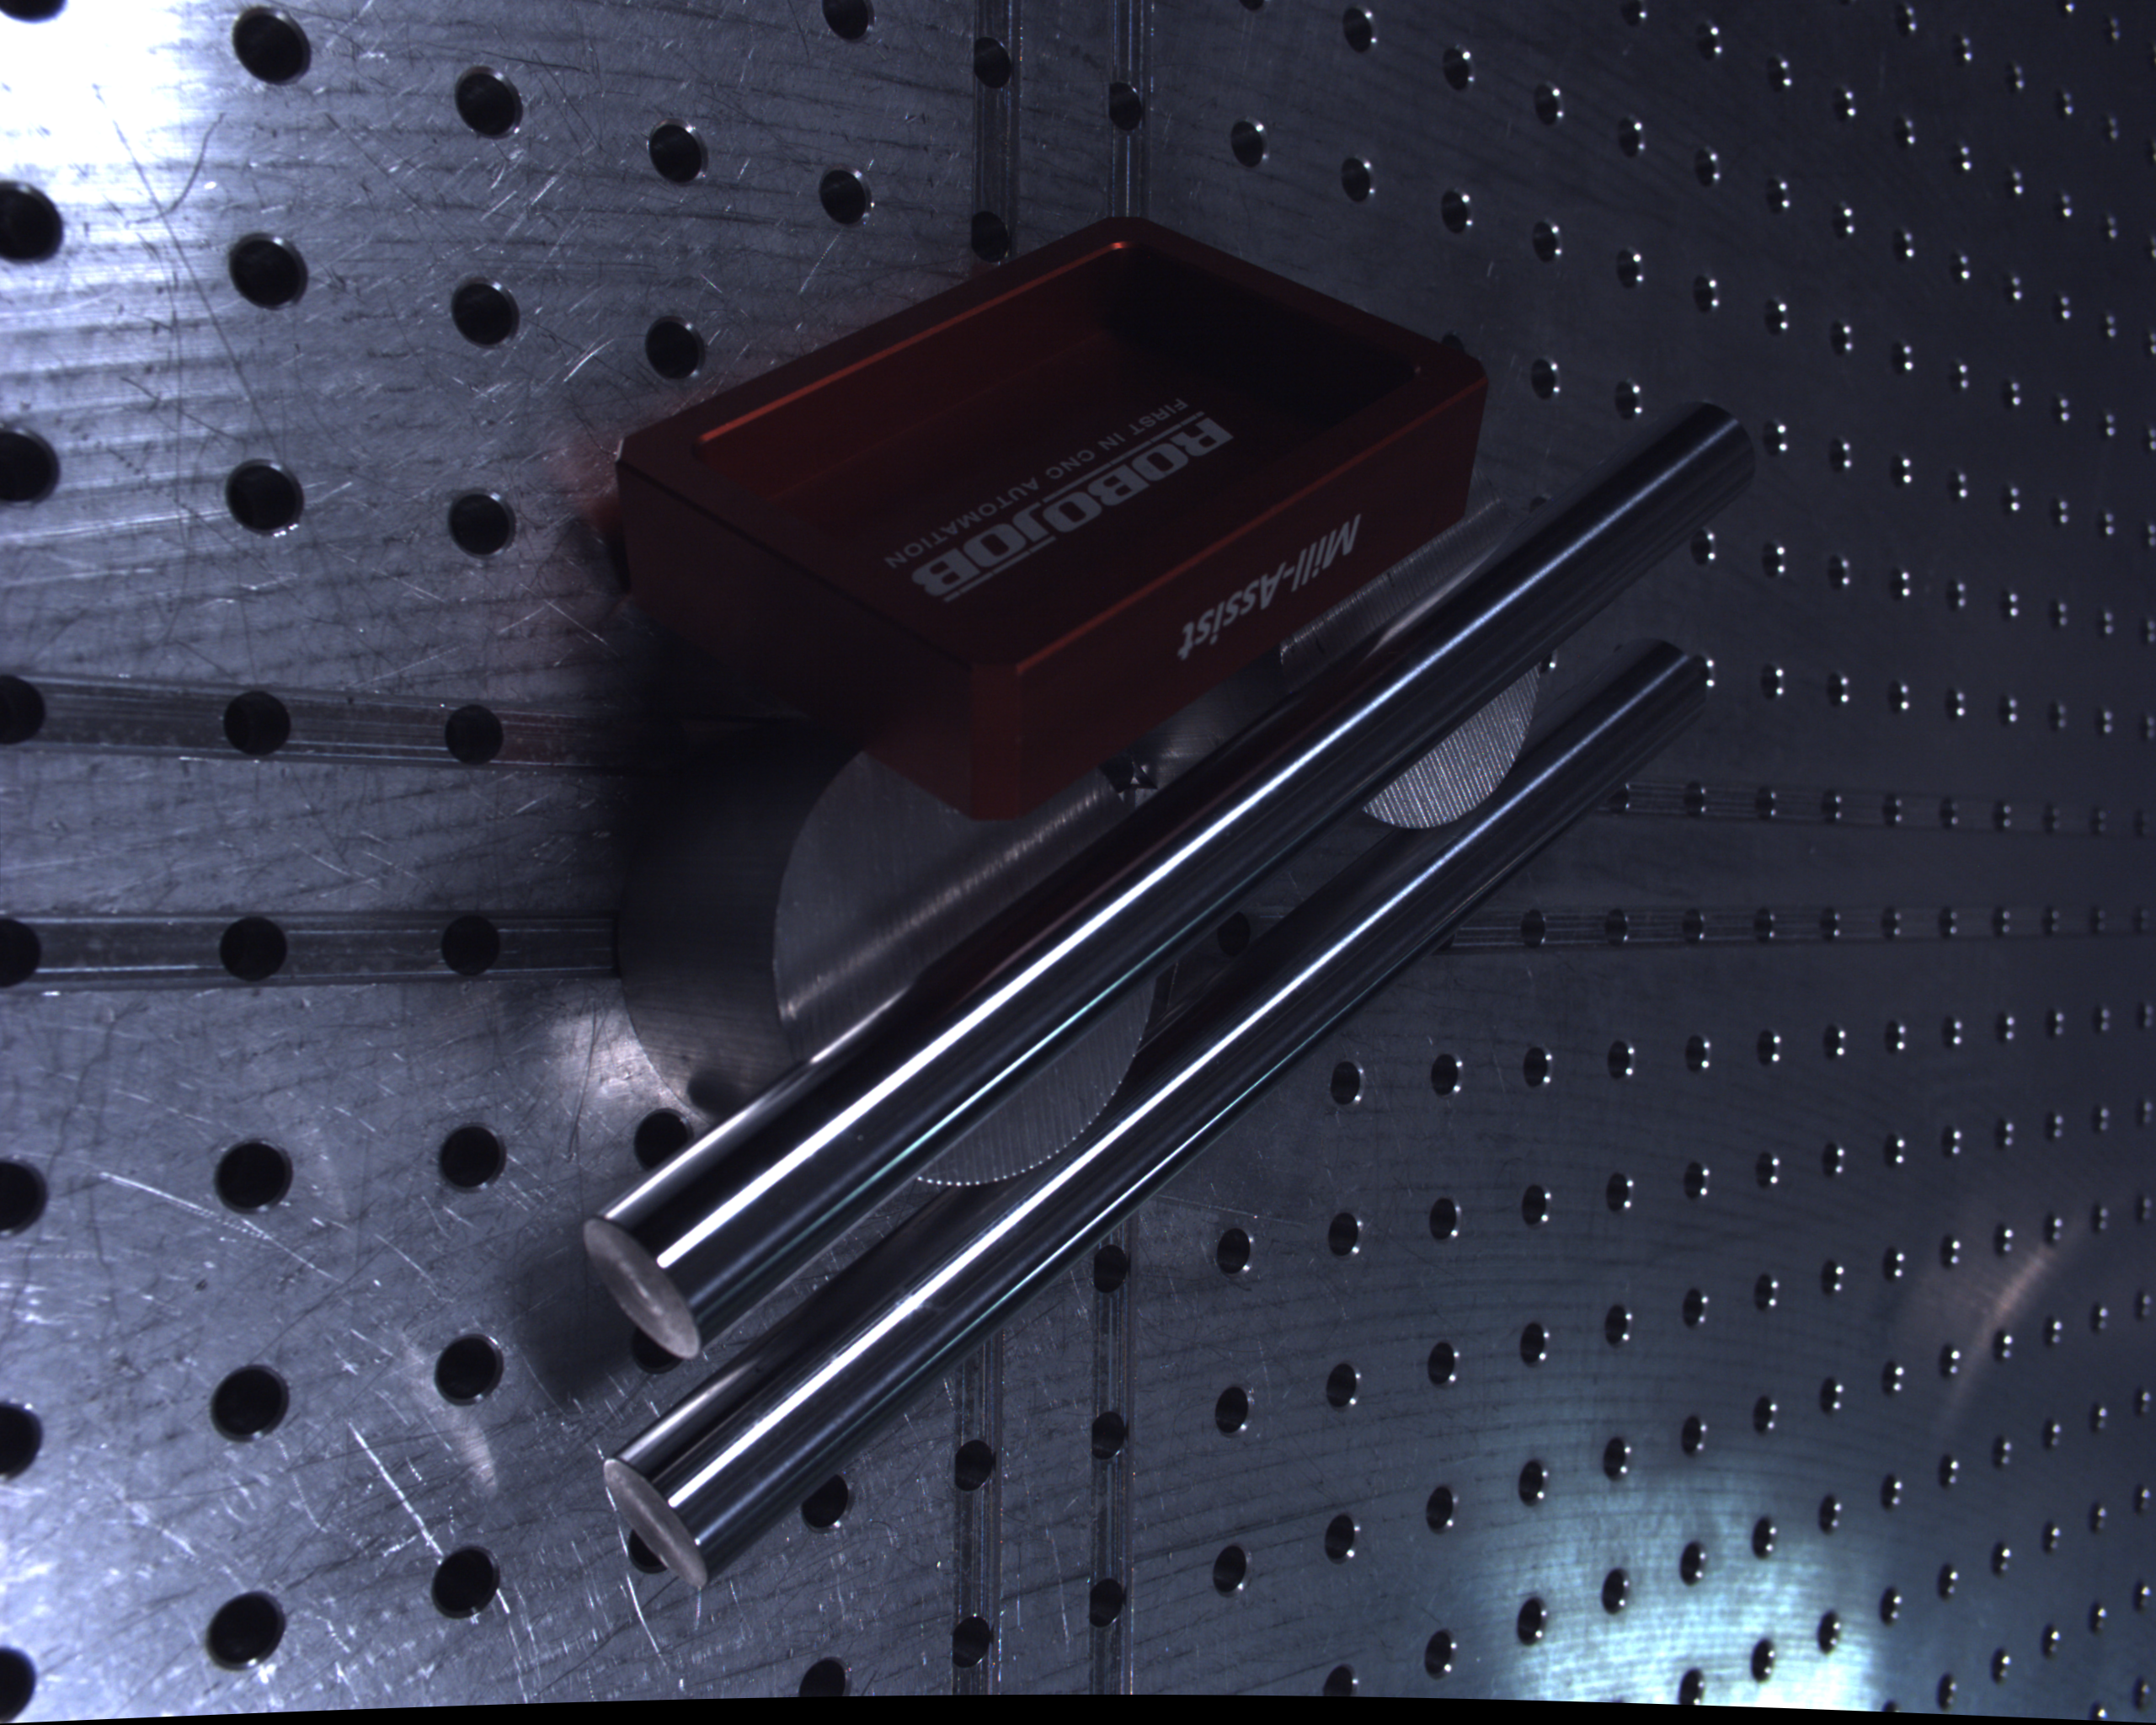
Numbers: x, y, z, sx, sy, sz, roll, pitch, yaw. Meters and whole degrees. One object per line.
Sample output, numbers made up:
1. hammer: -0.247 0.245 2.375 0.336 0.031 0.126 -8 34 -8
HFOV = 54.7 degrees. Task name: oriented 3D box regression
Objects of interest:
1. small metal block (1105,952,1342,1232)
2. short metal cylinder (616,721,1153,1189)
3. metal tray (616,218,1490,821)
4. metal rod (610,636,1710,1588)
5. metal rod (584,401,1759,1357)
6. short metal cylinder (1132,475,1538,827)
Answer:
1. small metal block: 0.026 0.047 0.432 0.050 0.025 0.050 19 78 -39
2. short metal cylinder: -0.033 0.014 0.367 0.081 0.050 0.079 0 90 -40
3. metal tray: -0.002 -0.067 0.365 0.131 0.090 0.030 -36 144 -35
4. metal rod: 0.037 0.030 0.408 0.302 0.025 0.025 -36 112 -34
5. metal rod: 0.039 -0.015 0.377 0.302 0.025 0.025 -37 113 -34
6. short metal cylinder: 0.052 -0.047 0.439 0.081 0.050 0.079 0 90 -40
